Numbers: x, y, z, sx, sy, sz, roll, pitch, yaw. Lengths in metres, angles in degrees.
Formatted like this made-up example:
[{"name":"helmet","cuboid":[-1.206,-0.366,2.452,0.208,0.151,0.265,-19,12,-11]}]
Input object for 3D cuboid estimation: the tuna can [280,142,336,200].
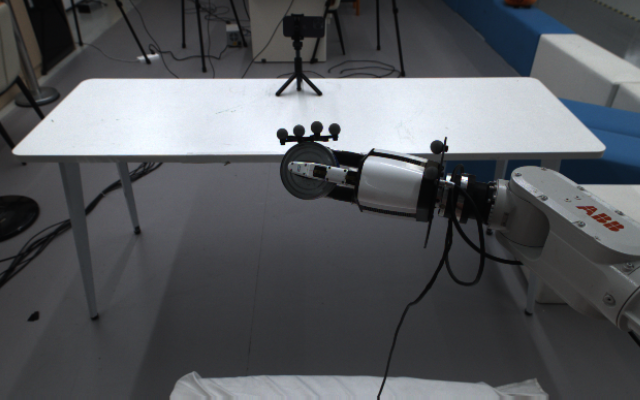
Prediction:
[{"name":"tuna can","cuboid":[-0.012,-0.039,0.715,0.085,0.085,0.034,10,2,11]}]
